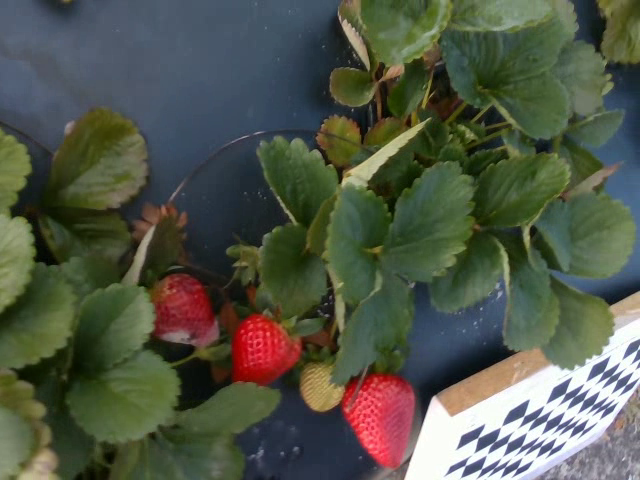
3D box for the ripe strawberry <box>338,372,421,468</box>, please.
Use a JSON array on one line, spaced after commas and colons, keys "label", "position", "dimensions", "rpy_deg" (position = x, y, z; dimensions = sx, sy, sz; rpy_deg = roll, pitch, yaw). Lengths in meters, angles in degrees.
[{"label": "ripe strawberry", "position": [0.019, 0.052, 0.175], "dimensions": [0.022, 0.030, 0.025], "rpy_deg": [-10, -32, 6]}]
